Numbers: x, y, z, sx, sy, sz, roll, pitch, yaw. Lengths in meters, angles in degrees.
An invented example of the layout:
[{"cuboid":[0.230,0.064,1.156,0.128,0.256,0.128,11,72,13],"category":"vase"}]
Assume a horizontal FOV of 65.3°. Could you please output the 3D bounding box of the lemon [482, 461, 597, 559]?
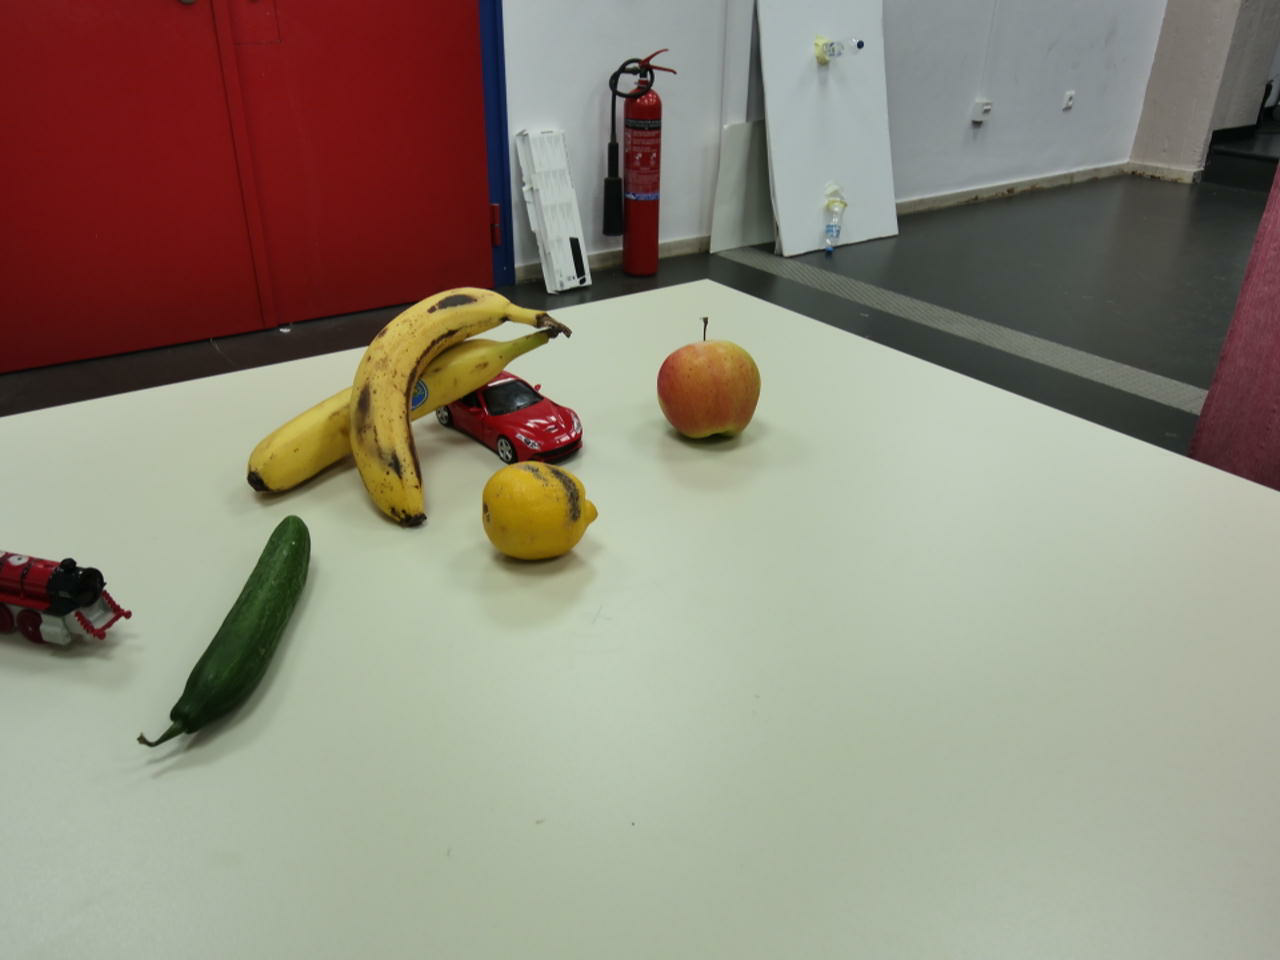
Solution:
[{"cuboid":[-0.061,0.017,0.573,0.061,0.056,0.058,-22,34,-39],"category":"lemon"}]
